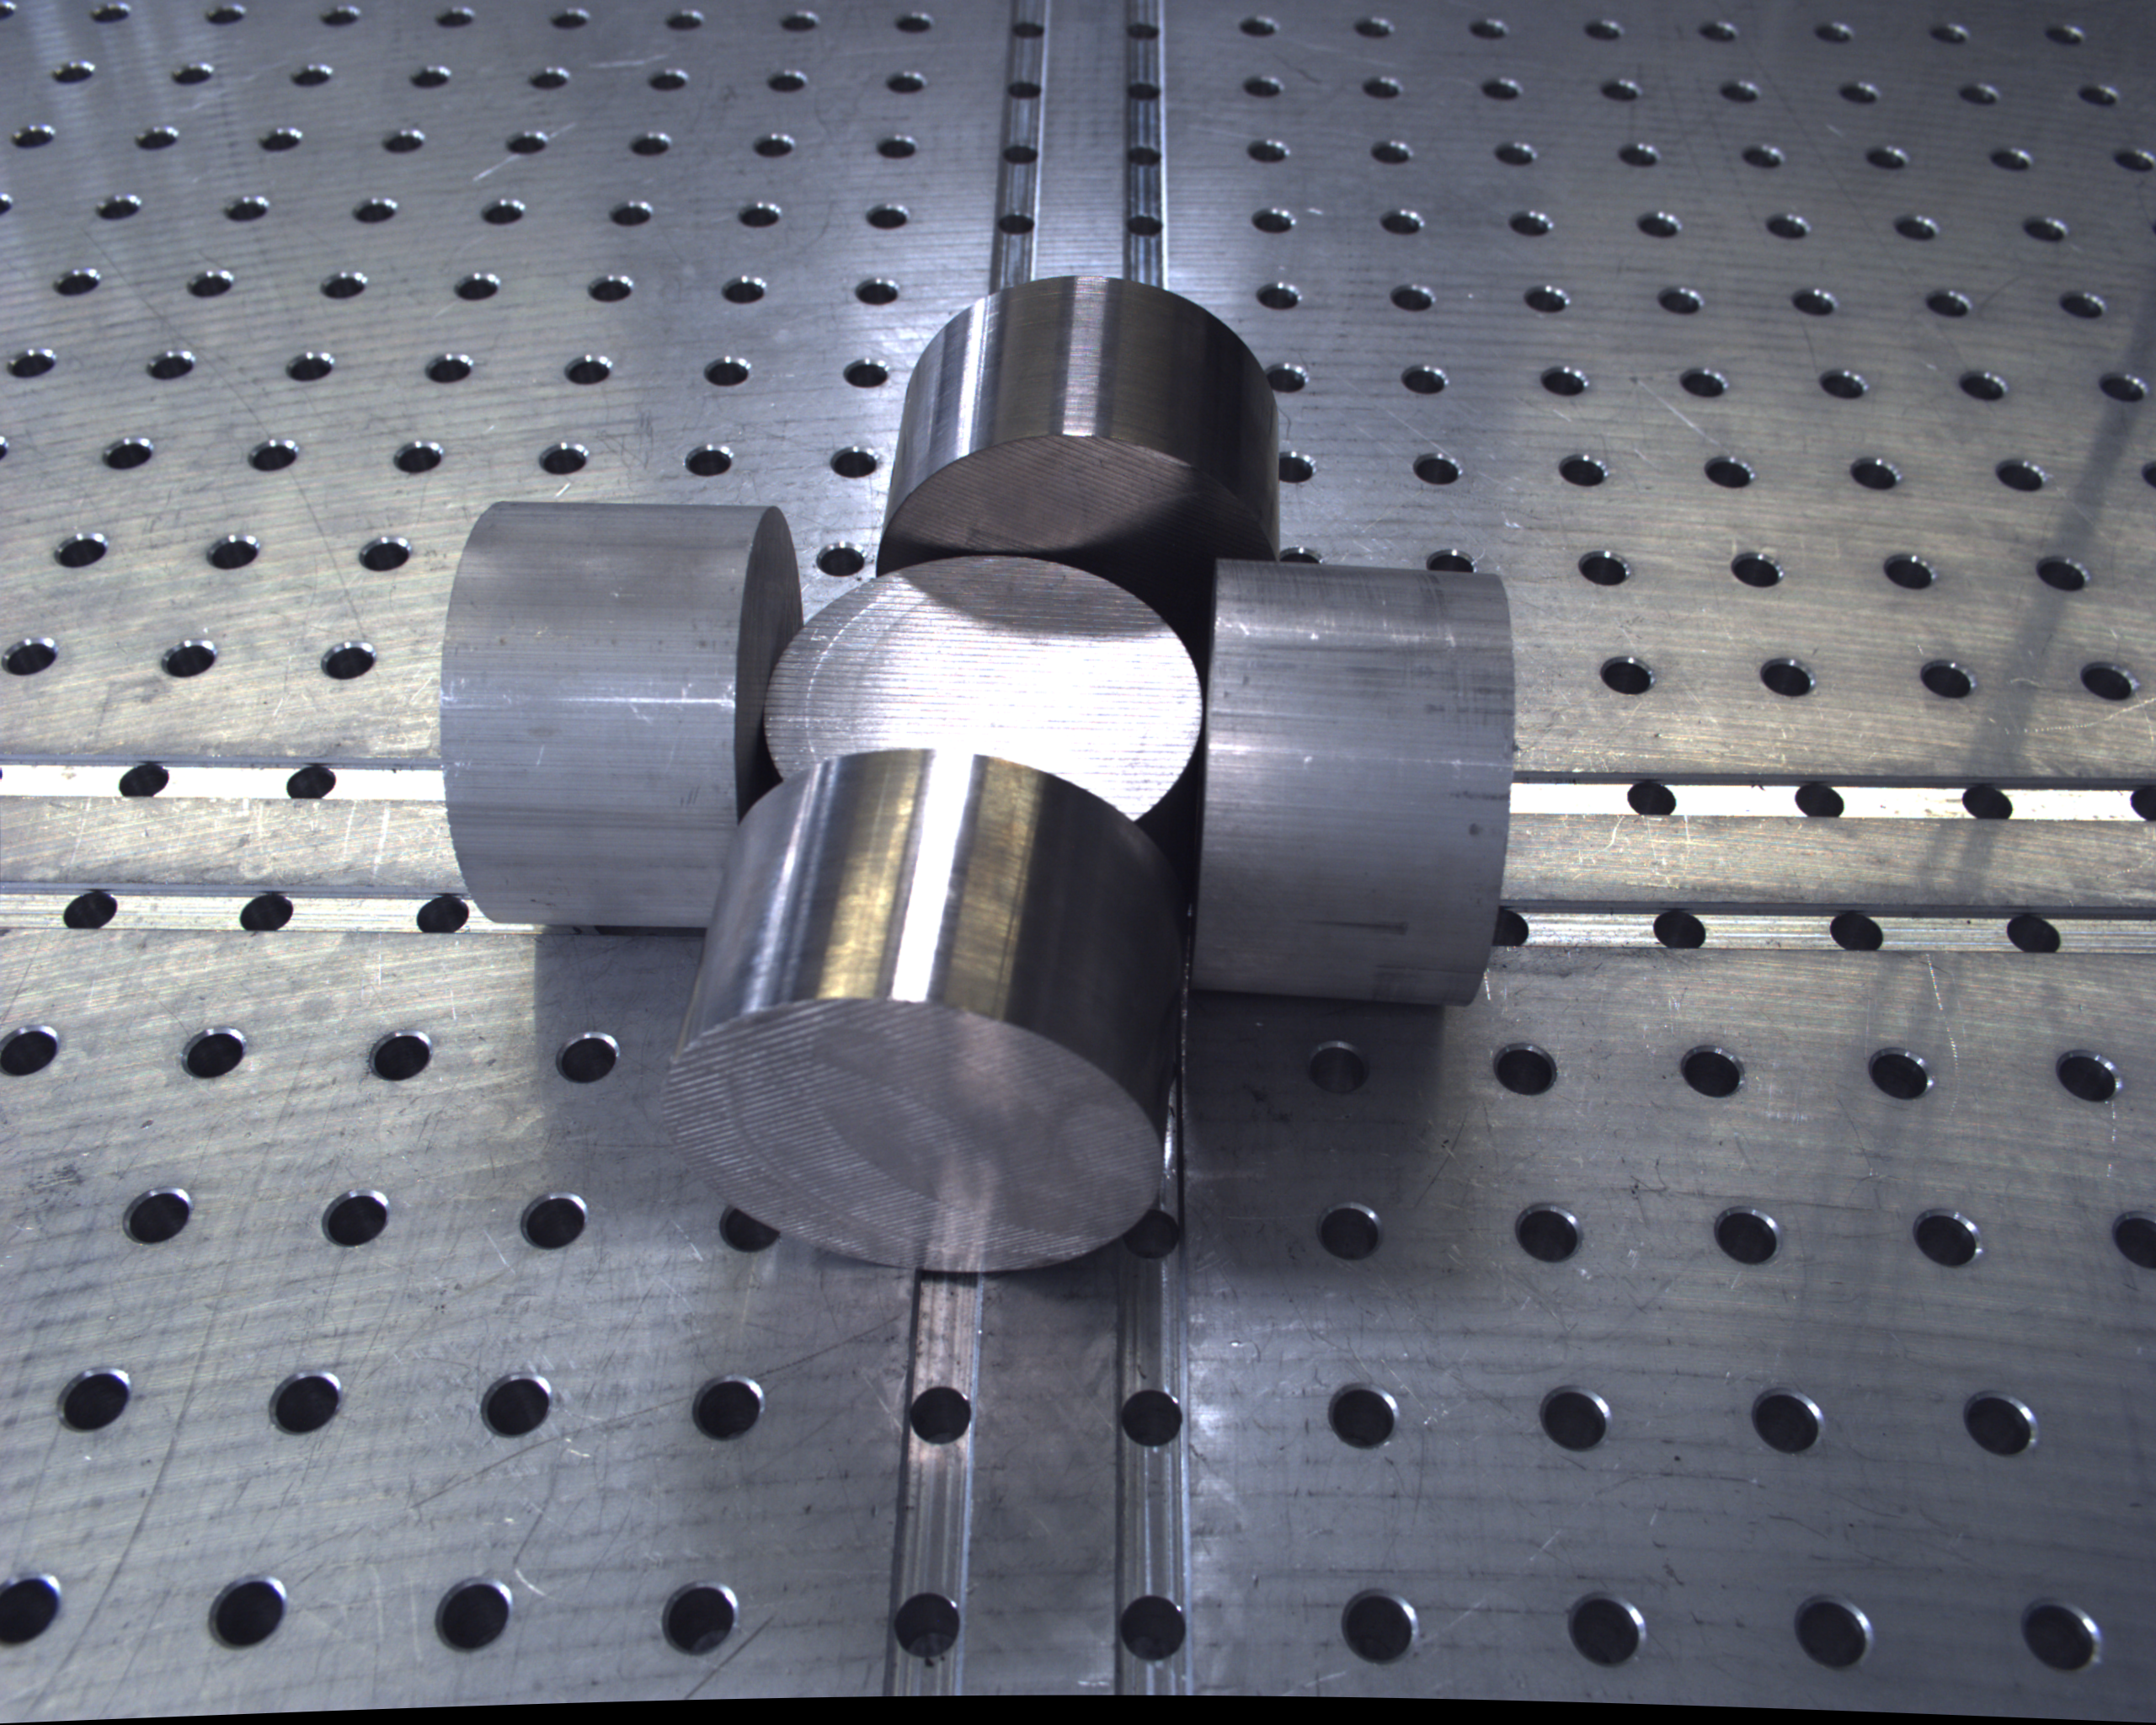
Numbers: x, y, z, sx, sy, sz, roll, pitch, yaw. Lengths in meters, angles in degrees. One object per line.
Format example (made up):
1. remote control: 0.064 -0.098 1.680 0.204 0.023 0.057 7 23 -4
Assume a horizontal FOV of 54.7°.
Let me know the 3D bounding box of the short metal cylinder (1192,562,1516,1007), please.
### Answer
1. short metal cylinder: 0.048 -0.015 0.385 0.050 0.080 0.080 3 50 2

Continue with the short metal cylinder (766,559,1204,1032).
1. short metal cylinder: -0.017 -0.013 0.403 0.081 0.050 0.080 1 50 -1

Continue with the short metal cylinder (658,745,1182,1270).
1. short metal cylinder: -0.024 0.026 0.348 0.080 0.080 0.050 5 50 4

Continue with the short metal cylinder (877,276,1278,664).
1. short metal cylinder: 0.001 -0.073 0.433 0.080 0.080 0.050 2 50 2

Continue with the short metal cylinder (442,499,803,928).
1. short metal cylinder: -0.083 -0.028 0.394 0.050 0.080 0.080 2 50 0
